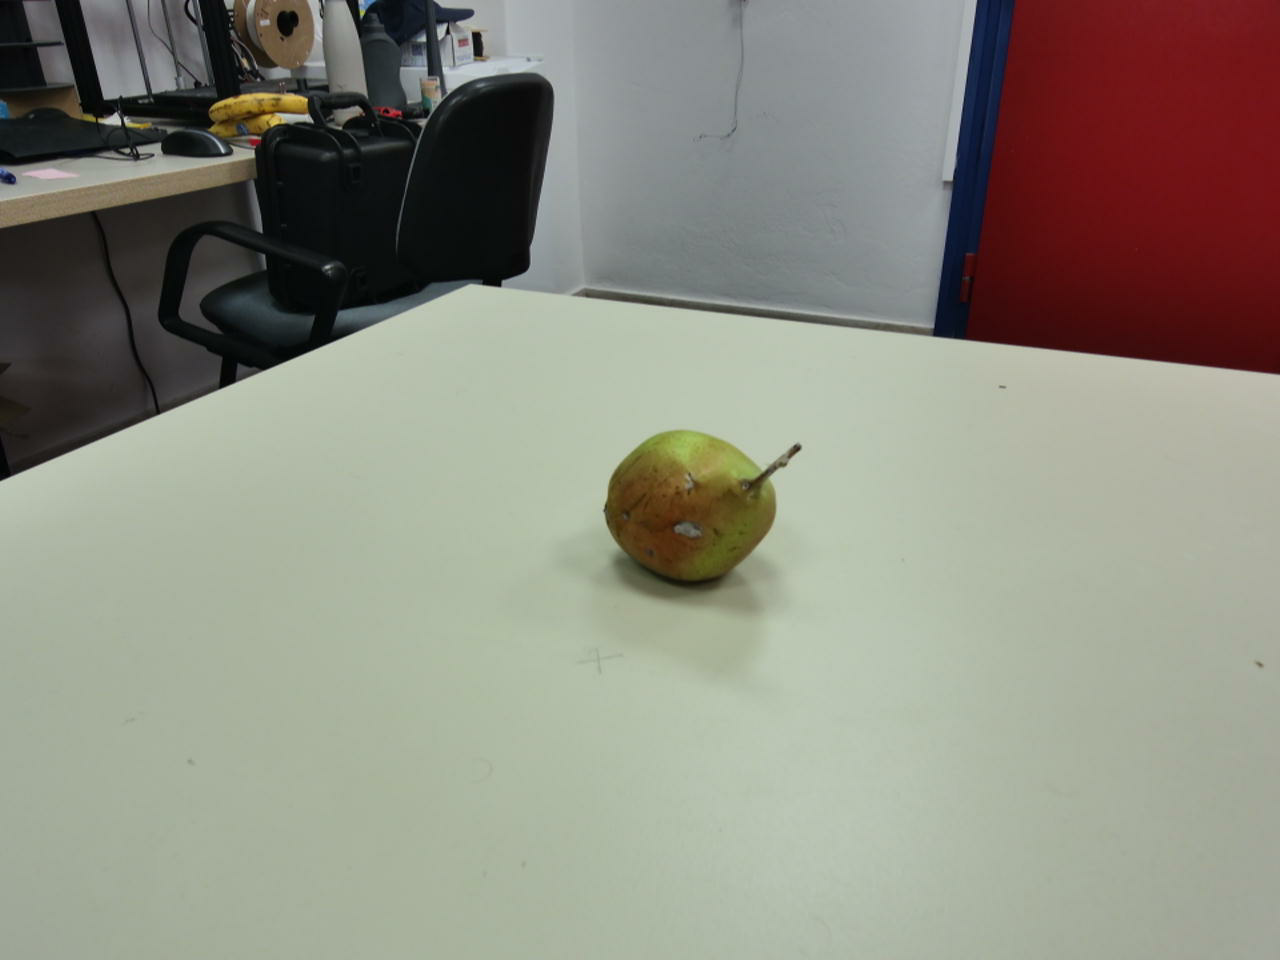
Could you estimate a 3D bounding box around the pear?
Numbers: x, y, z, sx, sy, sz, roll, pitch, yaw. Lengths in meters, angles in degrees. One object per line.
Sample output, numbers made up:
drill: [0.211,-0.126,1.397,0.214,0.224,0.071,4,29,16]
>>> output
pear: [0.021,0.008,0.418,0.068,0.069,0.070,-5,24,-12]
